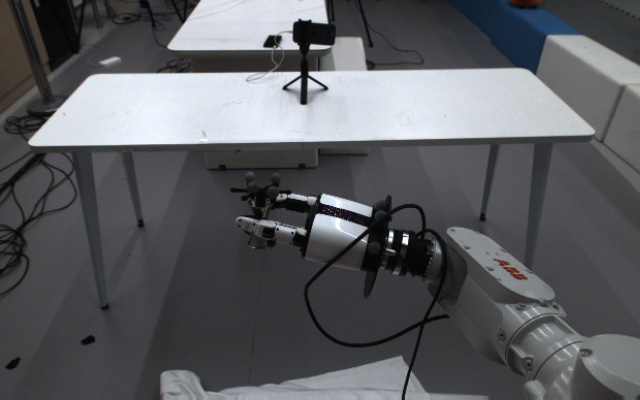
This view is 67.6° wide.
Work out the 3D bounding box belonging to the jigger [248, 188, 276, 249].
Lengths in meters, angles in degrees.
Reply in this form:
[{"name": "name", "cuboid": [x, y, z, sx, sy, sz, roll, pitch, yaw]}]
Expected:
[{"name": "jigger", "cuboid": [-0.089, 0.033, 0.733, 0.043, 0.071, 0.043, 2, 20, -1]}]
